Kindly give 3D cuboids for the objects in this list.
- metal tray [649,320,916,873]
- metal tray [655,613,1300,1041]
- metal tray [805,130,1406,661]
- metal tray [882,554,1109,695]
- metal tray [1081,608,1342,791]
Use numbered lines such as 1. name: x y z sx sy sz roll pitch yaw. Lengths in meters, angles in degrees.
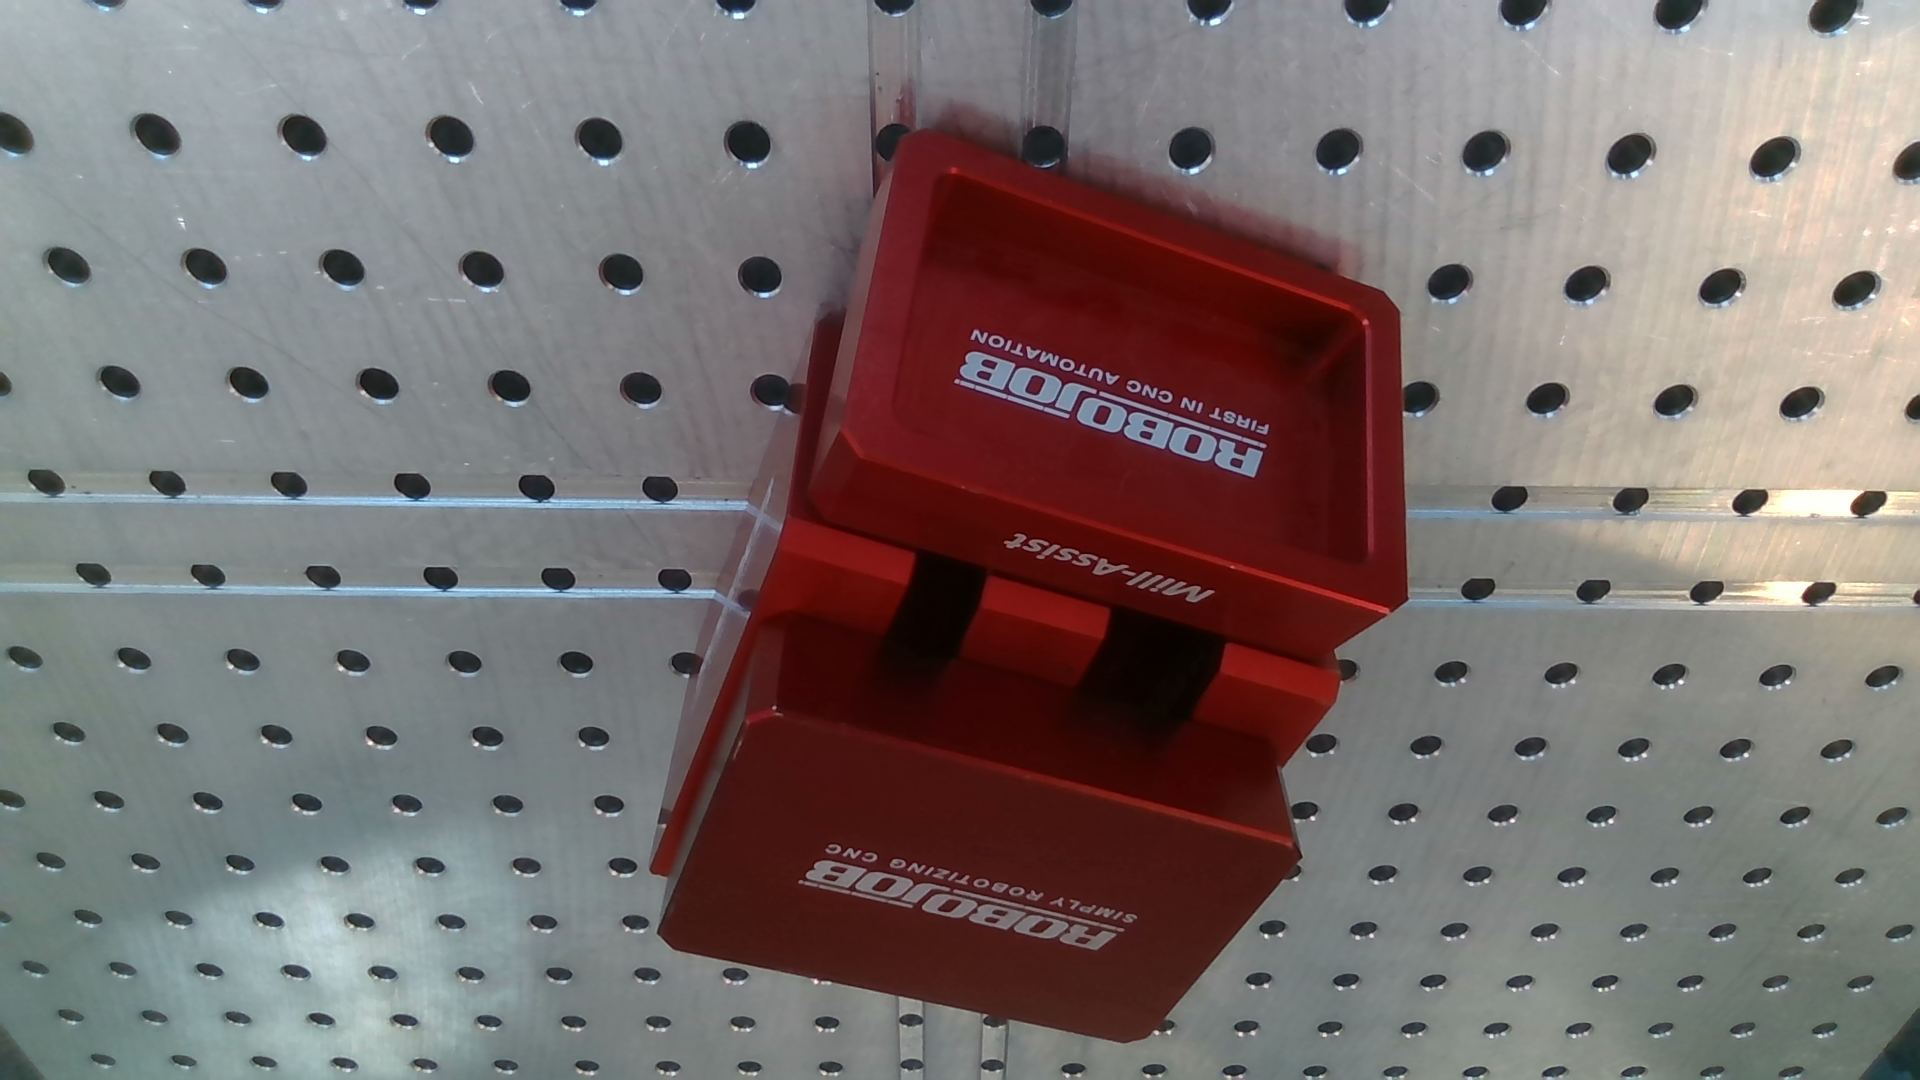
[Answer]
1. metal tray: -0.046 0.020 0.365 0.030 0.090 0.130 17 128 -13
2. metal tray: 0.002 0.074 0.331 0.130 0.030 0.090 16 128 -13
3. metal tray: 0.037 -0.033 0.318 0.130 0.090 0.030 16 150 -13
4. metal tray: -0.003 0.033 0.375 0.030 0.090 0.130 15 130 -13
5. metal tray: 0.053 0.049 0.389 0.030 0.090 0.130 16 128 -13
